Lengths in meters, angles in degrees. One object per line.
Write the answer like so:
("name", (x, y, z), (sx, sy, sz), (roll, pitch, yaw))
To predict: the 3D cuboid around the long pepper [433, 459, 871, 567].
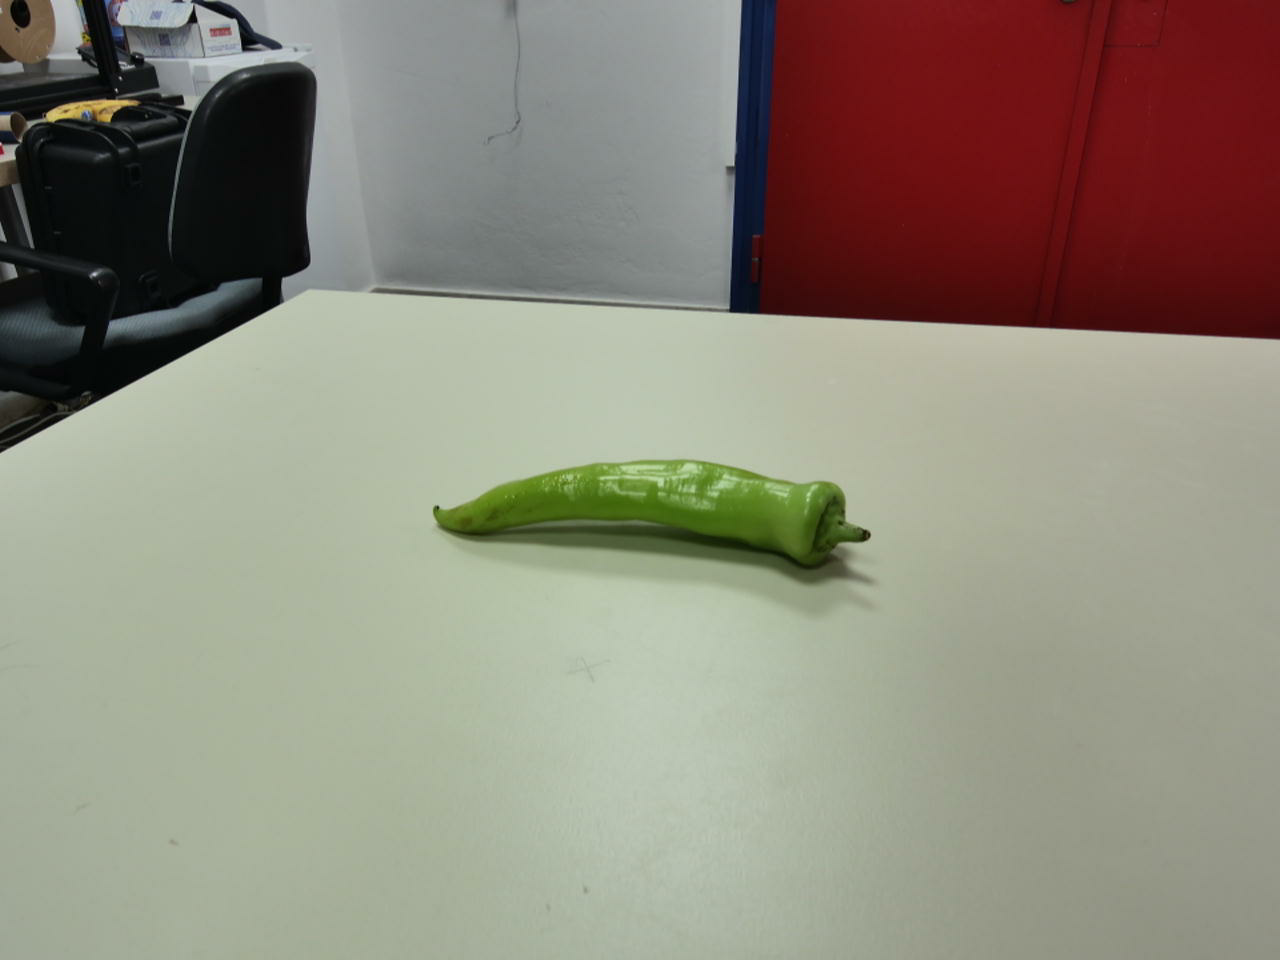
("long pepper", (0.003, 0.009, 0.442), (0.197, 0.038, 0.046), (6, 25, 14))
